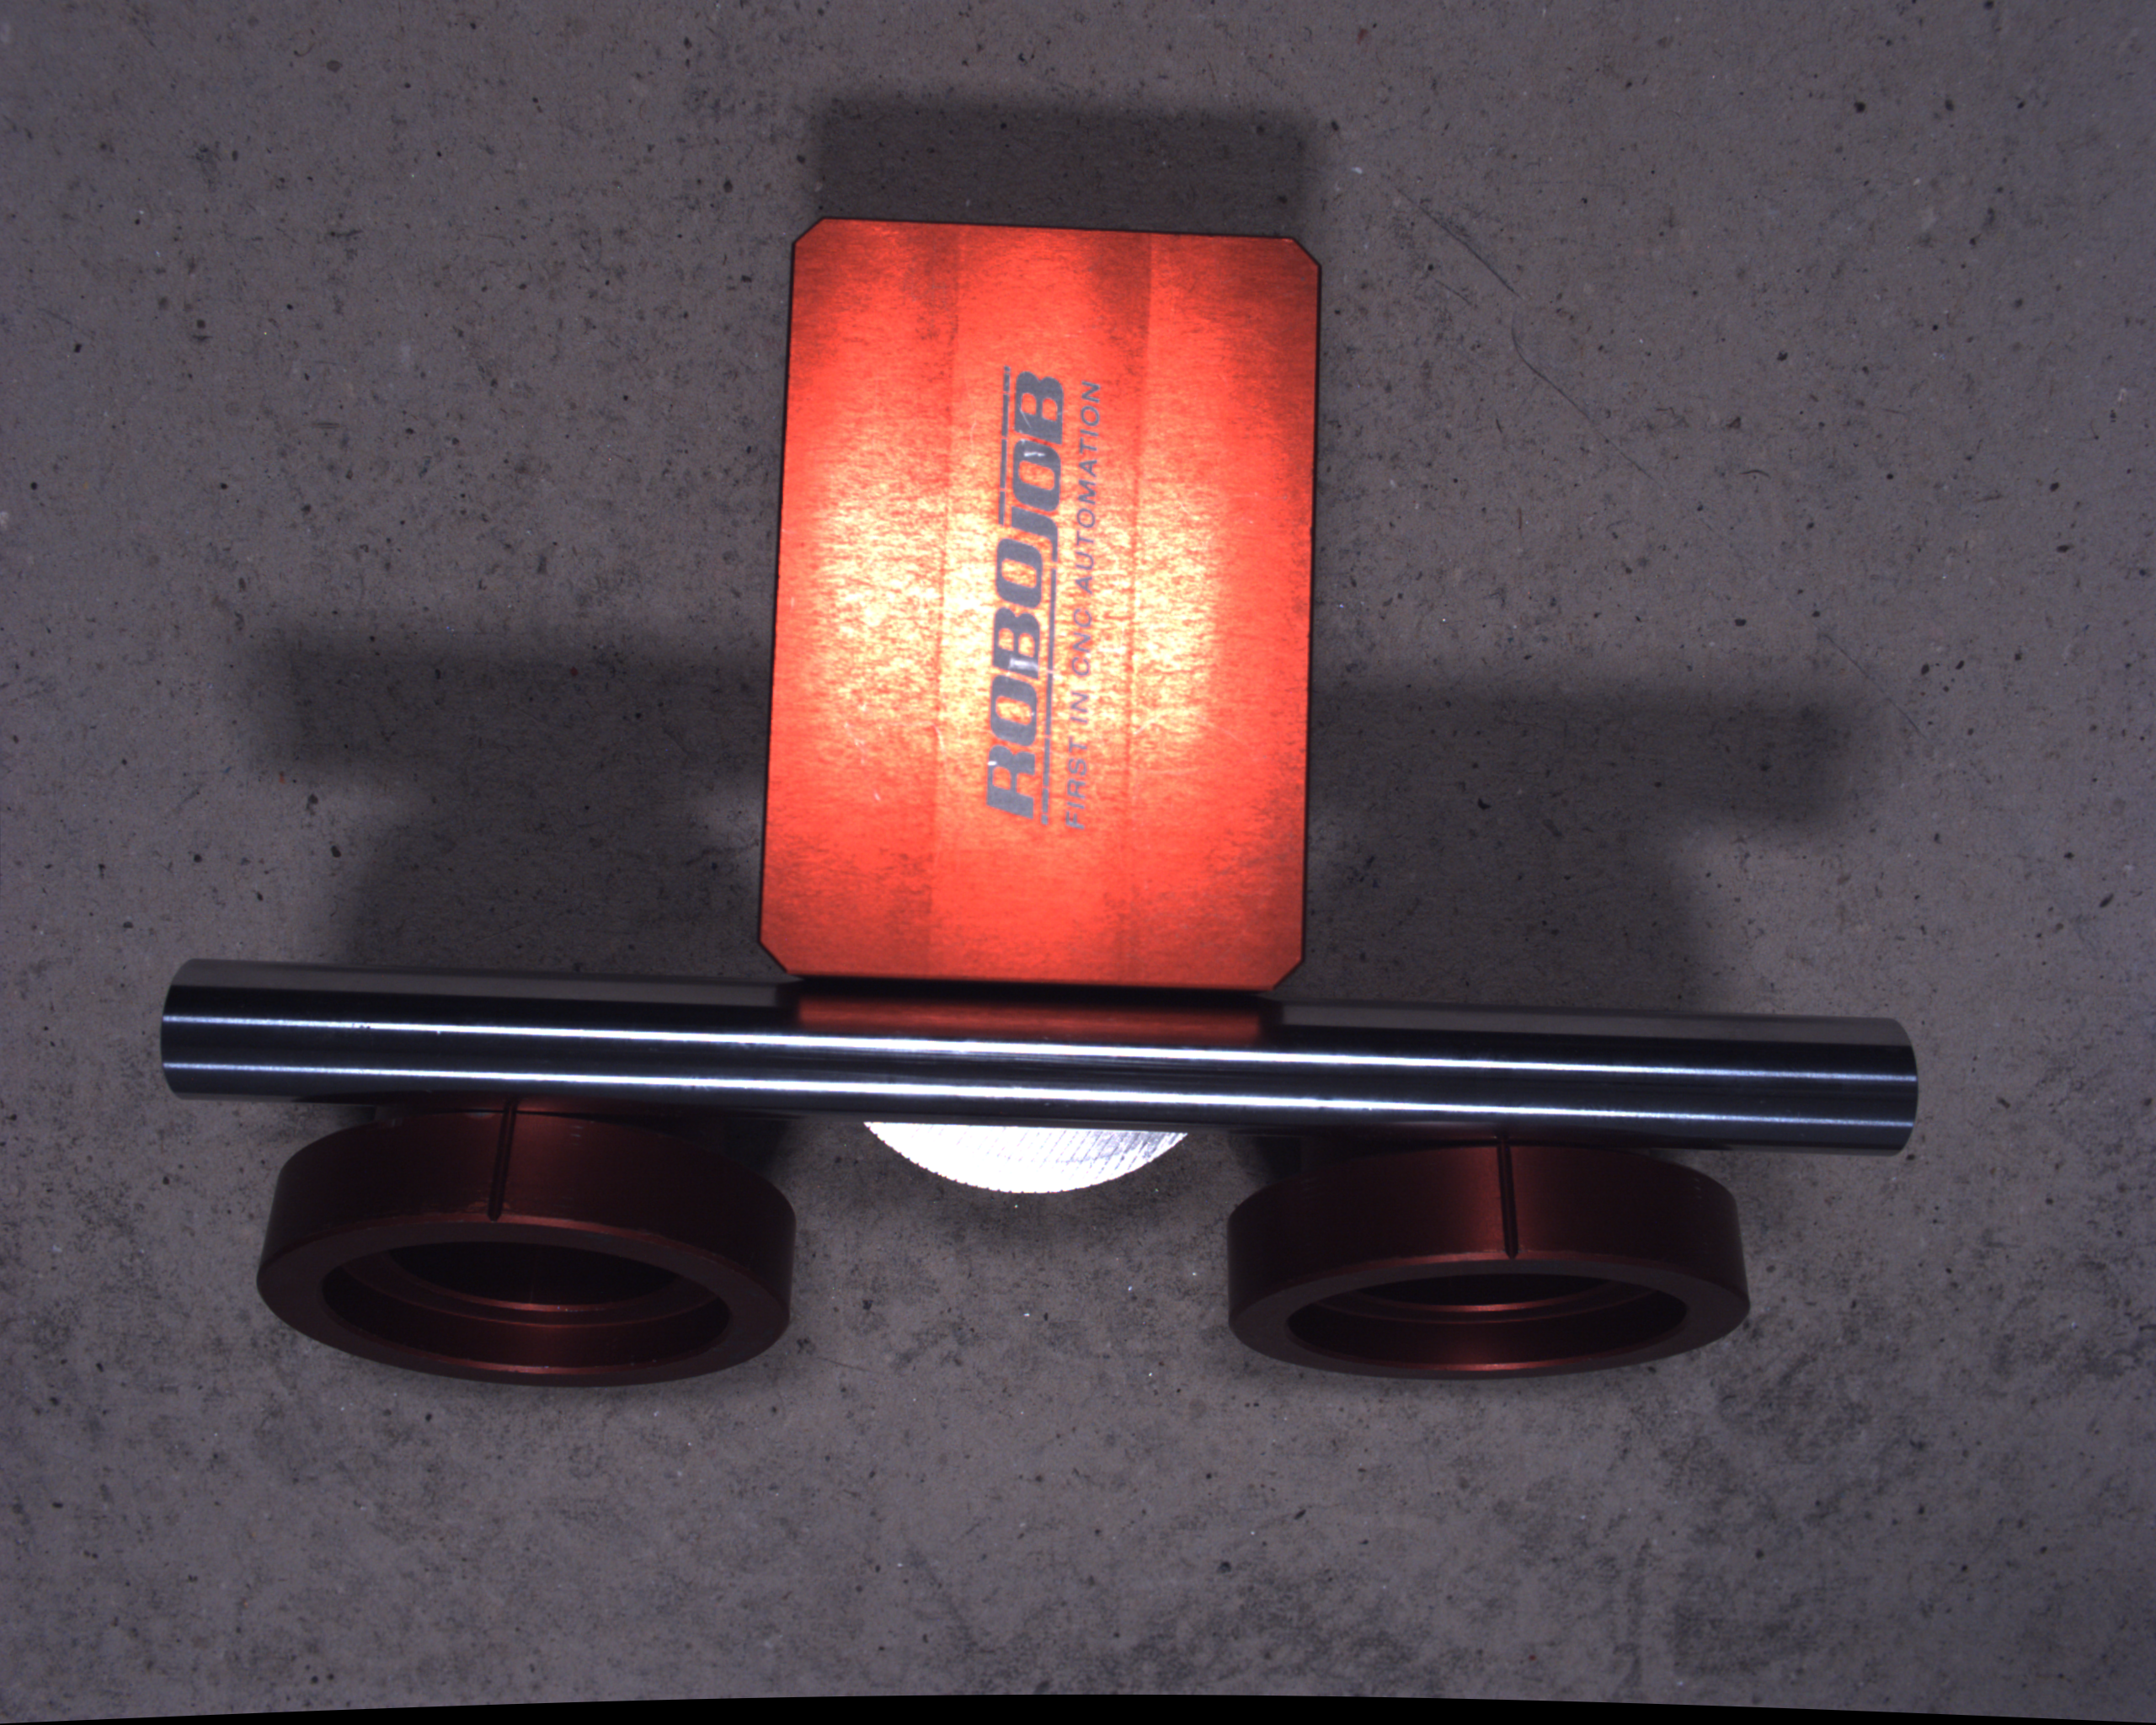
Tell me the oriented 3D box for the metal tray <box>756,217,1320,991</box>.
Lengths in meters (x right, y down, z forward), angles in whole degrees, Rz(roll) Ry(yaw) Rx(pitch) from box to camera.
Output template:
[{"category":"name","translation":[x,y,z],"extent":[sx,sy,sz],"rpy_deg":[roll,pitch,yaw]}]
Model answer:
[{"category":"metal tray","translation":[-0.006,-0.043,0.364],"extent":[0.091,0.030,0.129],"rpy_deg":[2,84,-2]}]

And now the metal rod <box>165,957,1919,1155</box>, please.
[{"category":"metal rod","translation":[-0.005,0.035,0.371],"extent":[0.302,0.025,0.025],"rpy_deg":[2,110,-2]}]

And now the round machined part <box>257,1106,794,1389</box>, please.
[{"category":"round machined part","translation":[-0.105,0.068,0.408],"extent":[0.099,0.042,0.098],"rpy_deg":[-1,149,0]}]

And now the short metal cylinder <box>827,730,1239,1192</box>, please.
[{"category":"short metal cylinder","translation":[-0.009,0.016,0.404],"extent":[0.081,0.050,0.079],"rpy_deg":[0,110,-1]}]

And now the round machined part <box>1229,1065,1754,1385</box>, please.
[{"category":"round machined part","translation":[0.079,0.071,0.411],"extent":[0.099,0.042,0.098],"rpy_deg":[0,153,0]}]
